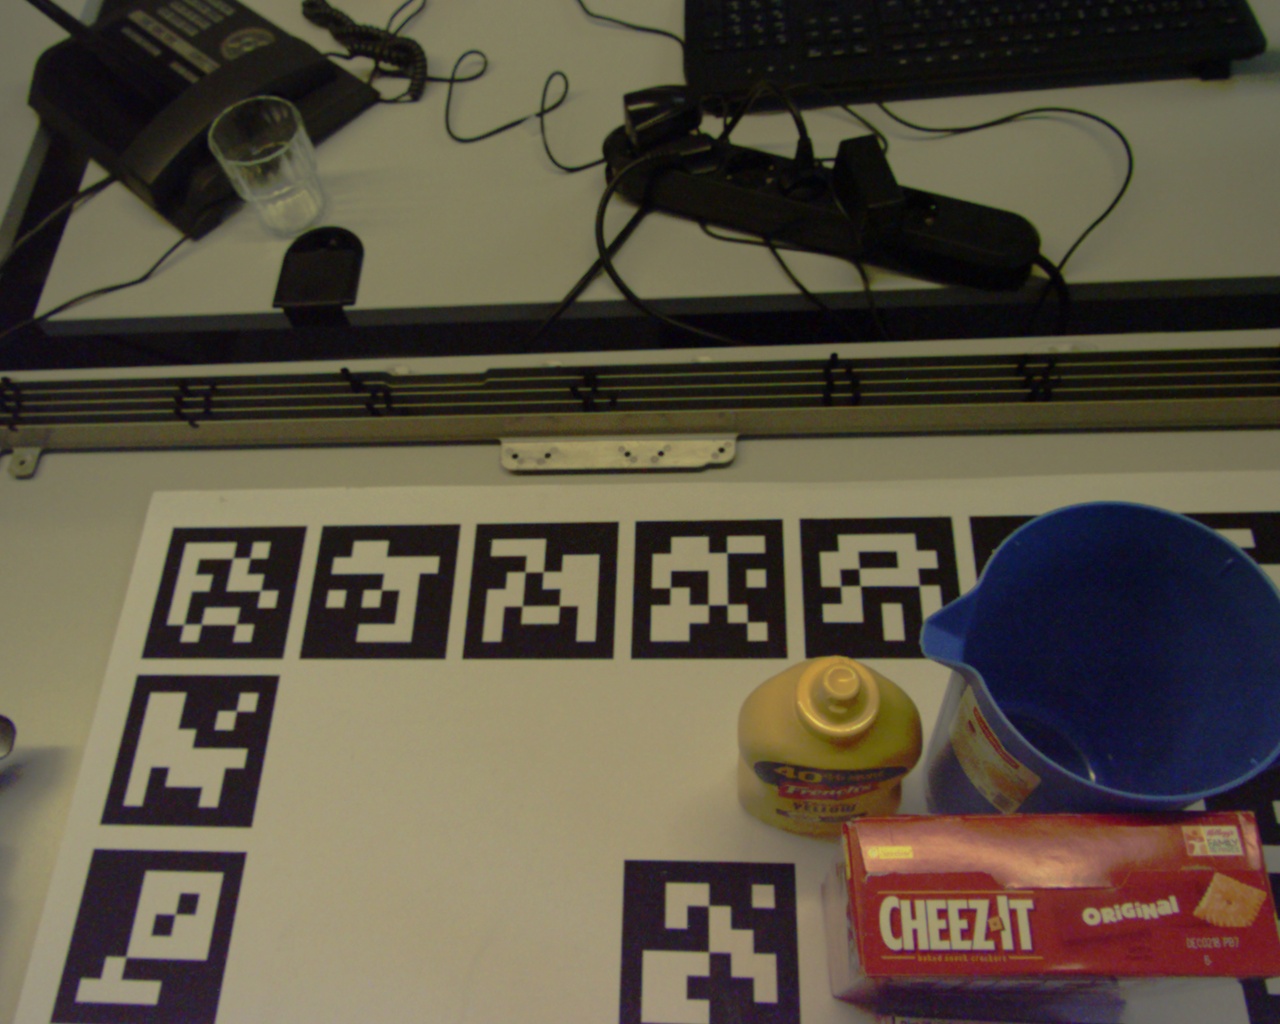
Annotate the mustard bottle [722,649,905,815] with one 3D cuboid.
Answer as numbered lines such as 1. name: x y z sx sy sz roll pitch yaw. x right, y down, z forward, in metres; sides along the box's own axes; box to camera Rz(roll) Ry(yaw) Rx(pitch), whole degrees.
1. mustard bottle: 0.095 0.119 0.628 0.097 0.190 0.058 11 66 12

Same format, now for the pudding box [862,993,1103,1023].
1. pudding box: 0.174 0.273 0.592 0.114 0.089 0.039 -2 62 9

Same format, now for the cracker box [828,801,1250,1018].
1. cracker box: 0.177 0.205 0.566 0.165 0.212 0.072 -4 61 7

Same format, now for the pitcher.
1. pitcher: 0.226 0.111 0.602 0.190 0.241 0.133 4 64 11
